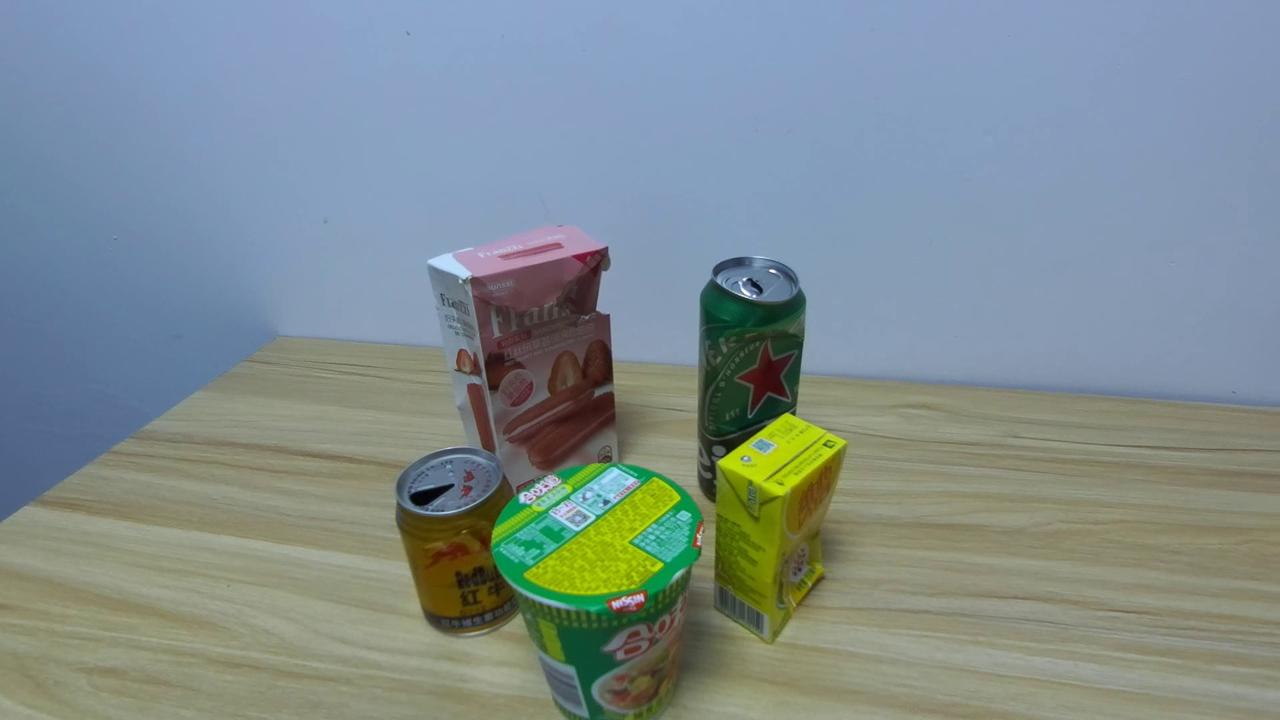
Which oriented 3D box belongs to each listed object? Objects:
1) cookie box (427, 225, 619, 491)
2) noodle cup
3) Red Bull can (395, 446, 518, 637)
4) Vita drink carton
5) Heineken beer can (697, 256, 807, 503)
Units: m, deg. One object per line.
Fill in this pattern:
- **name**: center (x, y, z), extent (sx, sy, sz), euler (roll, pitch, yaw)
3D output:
- **cookie box**: center (-0.072, 0.011, 0.488), extent (0.105, 0.186, 0.059), euler (-21, 35, -30)
- **noodle cup**: center (-0.018, 0.125, 0.354), extent (0.097, 0.110, 0.097), euler (-2, 28, 1)
- **Red Bull can**: center (-0.103, 0.106, 0.416), extent (0.068, 0.093, 0.068), euler (-2, 28, 2)
- **Vita drink carton**: center (0.080, 0.093, 0.400), extent (0.043, 0.109, 0.077), euler (24, 39, 39)
- **Heineken beer can**: center (0.072, 0.020, 0.471), extent (0.068, 0.168, 0.069), euler (5, 31, 9)
